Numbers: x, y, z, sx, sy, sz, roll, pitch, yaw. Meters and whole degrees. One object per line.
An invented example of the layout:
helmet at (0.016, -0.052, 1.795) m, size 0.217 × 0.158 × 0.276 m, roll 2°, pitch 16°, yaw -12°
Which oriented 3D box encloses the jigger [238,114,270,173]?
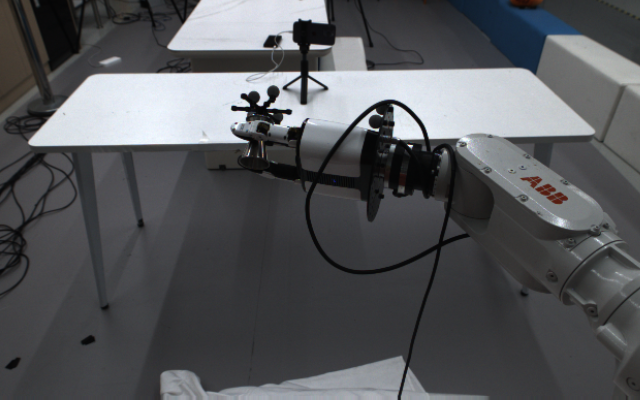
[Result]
jigger at (-0.091, -0.083, 0.691) m, size 0.043 × 0.043 × 0.071 m, roll 4°, pitch 71°, yaw 3°
